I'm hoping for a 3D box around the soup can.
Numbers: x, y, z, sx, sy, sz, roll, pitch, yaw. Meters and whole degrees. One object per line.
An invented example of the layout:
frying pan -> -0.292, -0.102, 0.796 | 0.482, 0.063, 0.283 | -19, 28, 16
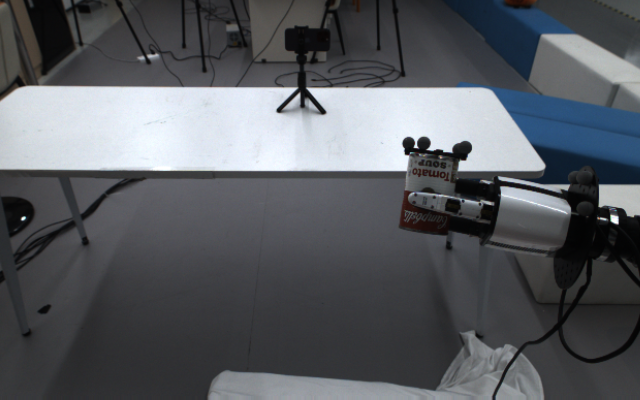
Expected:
soup can -> 0.148, -0.010, 0.654 | 0.067, 0.101, 0.067 | 7, 4, 0
